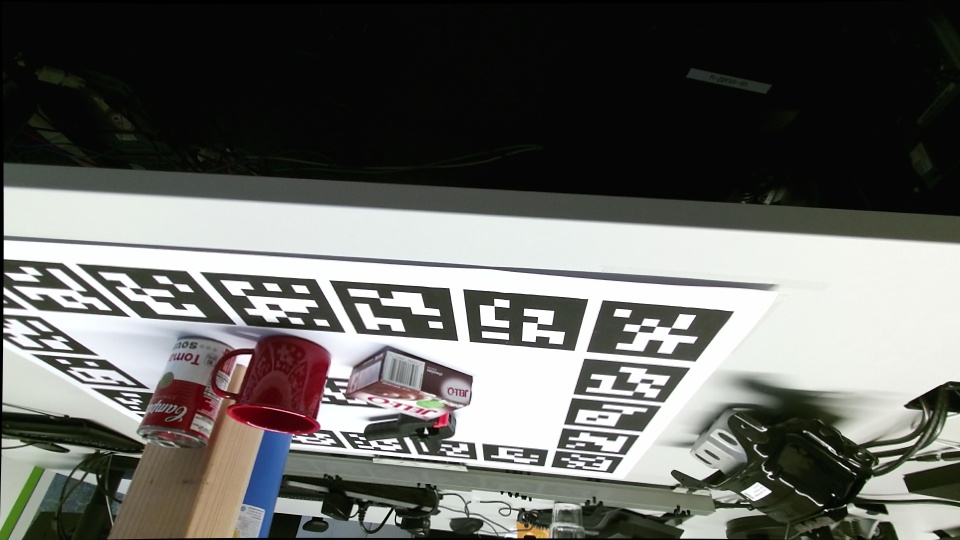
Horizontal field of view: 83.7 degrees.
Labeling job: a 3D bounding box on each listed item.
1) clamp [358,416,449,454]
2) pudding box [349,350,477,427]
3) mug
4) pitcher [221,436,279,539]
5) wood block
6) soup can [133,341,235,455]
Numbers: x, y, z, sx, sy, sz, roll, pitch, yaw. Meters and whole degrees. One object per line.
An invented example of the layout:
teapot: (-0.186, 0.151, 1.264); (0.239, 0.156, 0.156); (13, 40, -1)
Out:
clamp: (-0.091, 0.222, 0.734); (0.122, 0.036, 0.165); (26, 141, -15)
pudding box: (-0.074, 0.135, 0.598); (0.114, 0.038, 0.090); (25, 138, -27)
mug: (-0.219, 0.120, 0.554); (0.117, 0.081, 0.093); (24, 144, -26)
pitcher: (-0.355, 0.309, 0.708); (0.189, 0.241, 0.133); (0, 147, 3)
wood block: (-0.332, 0.228, 0.615); (0.090, 0.205, 0.091); (4, 146, 8)
soup can: (-0.312, 0.135, 0.570); (0.068, 0.101, 0.068); (4, 143, 3)
